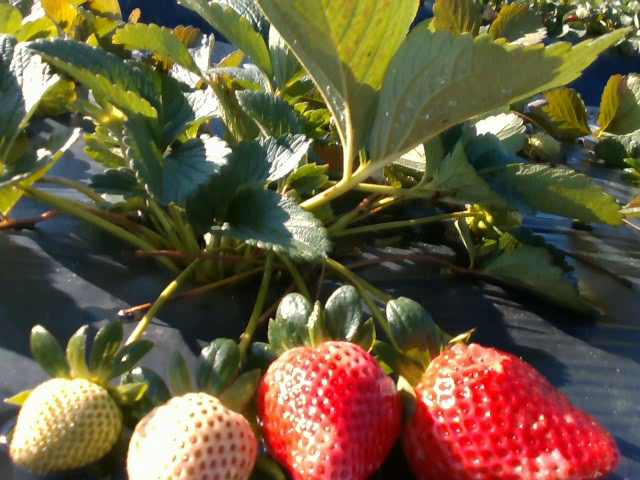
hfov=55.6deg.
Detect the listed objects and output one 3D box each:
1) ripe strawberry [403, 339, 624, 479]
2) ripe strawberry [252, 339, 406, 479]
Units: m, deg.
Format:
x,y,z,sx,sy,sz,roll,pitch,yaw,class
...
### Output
x,y,z,sx,sy,sz,roll,pitch,yaw,class
0.055,0.053,0.169,0.067,0.052,0.056,7,41,48,ripe strawberry
0.002,0.048,0.159,0.050,0.044,0.061,32,14,-5,ripe strawberry
